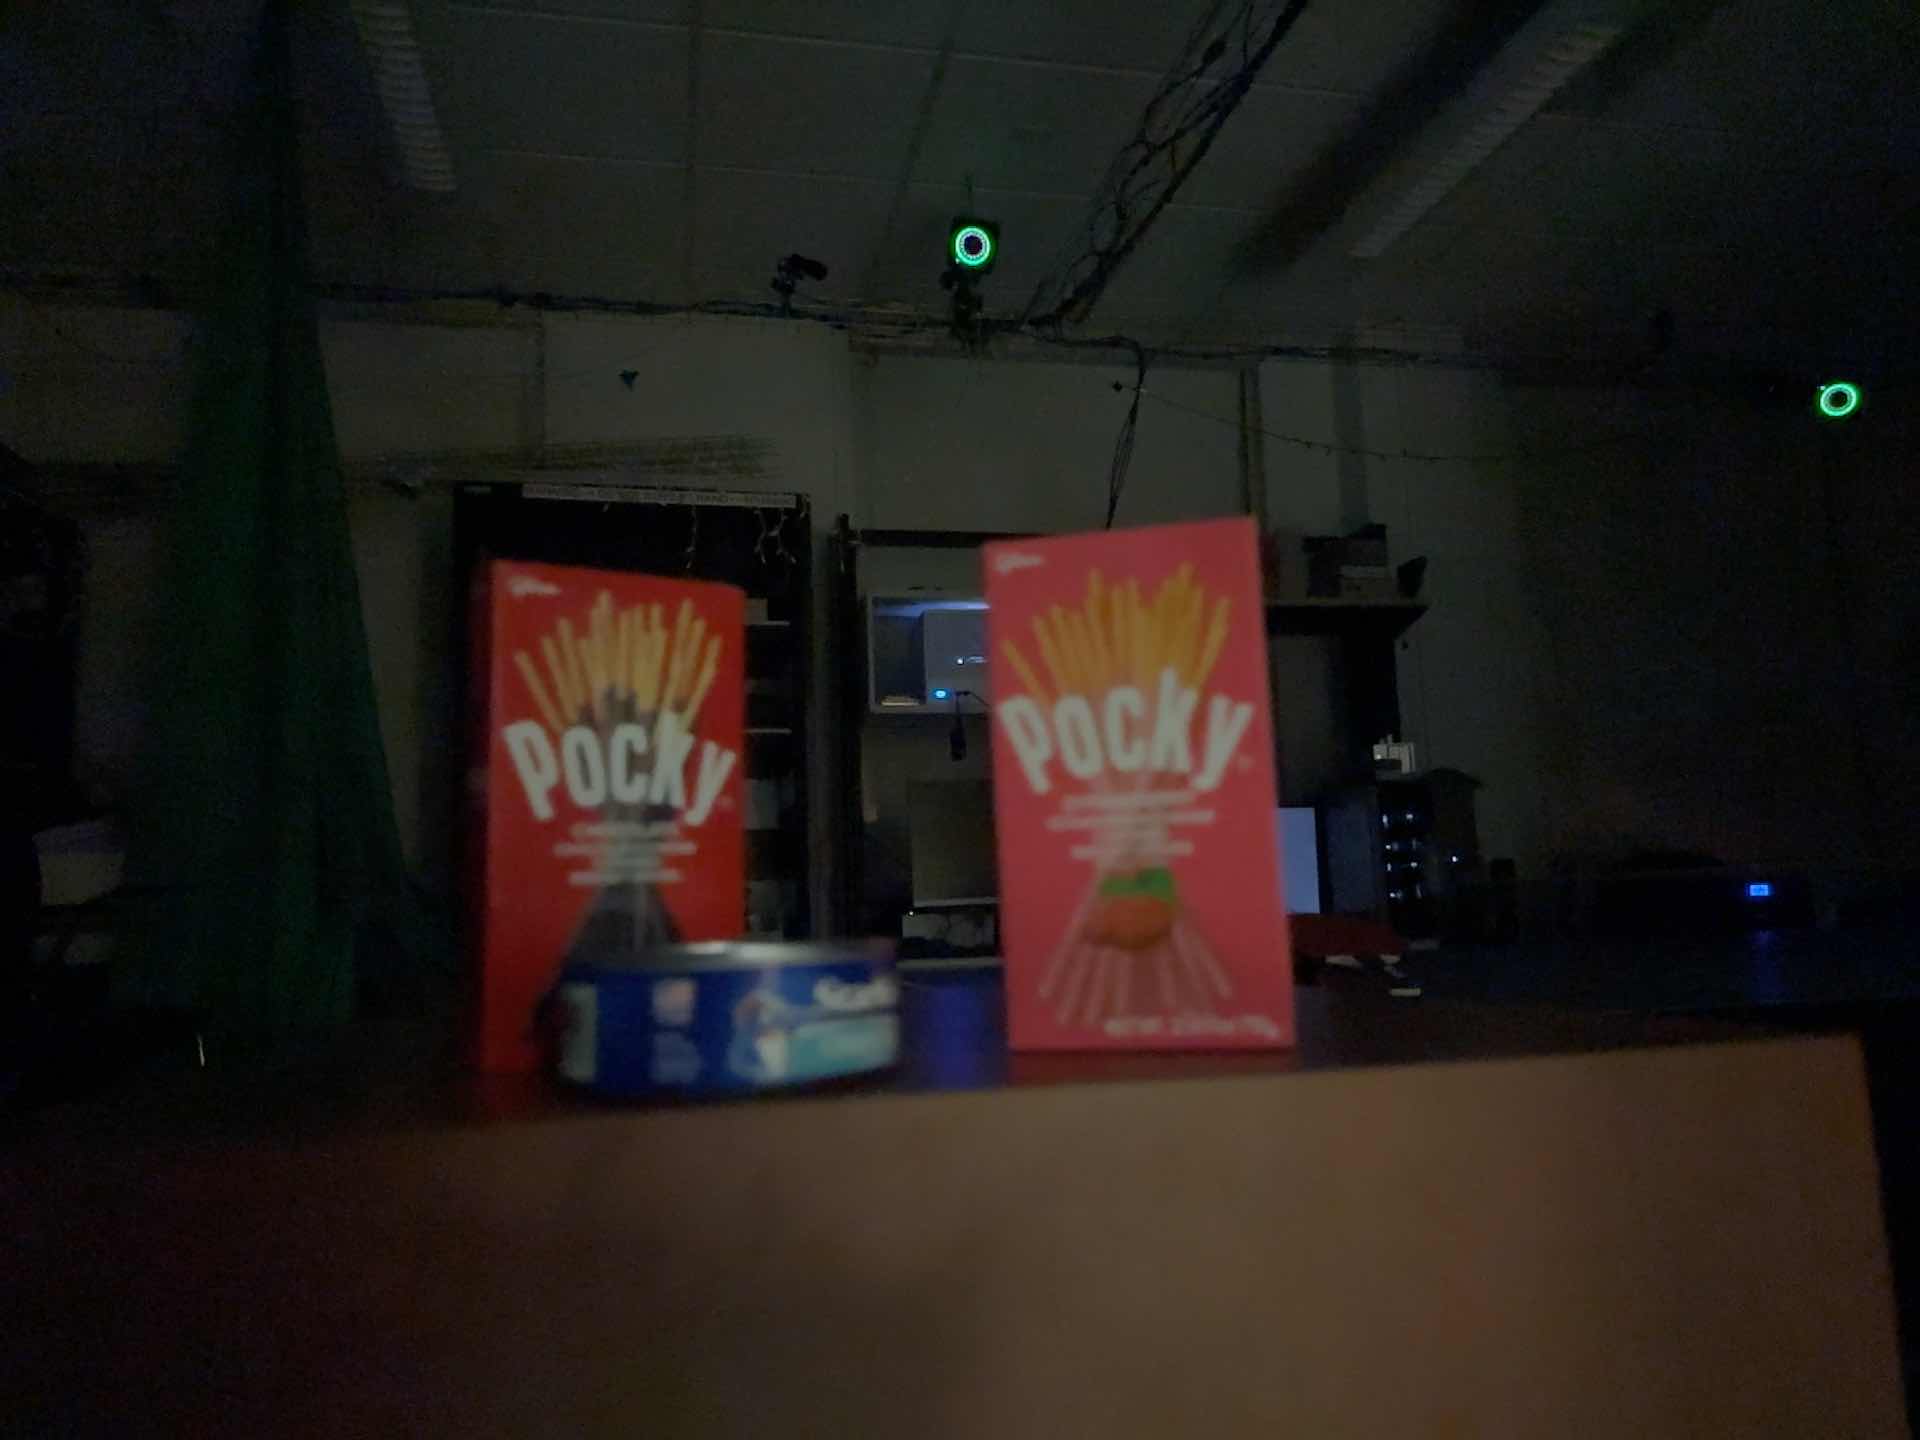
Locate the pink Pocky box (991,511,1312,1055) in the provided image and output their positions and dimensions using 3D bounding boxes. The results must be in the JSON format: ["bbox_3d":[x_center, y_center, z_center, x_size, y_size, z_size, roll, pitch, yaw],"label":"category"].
[{"bbox_3d":[0.056,0.019,0.399,0.084,0.155,0.029,-4,-5,11],"label":"pink Pocky box"}]

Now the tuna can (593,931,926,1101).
[{"bbox_3d":[-0.051,0.074,0.345,0.083,0.034,0.083,-2,-6,0],"label":"tuna can"}]

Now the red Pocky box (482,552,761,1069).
[{"bbox_3d":[-0.105,0.028,0.422,0.083,0.155,0.028,2,-6,-28],"label":"red Pocky box"}]
